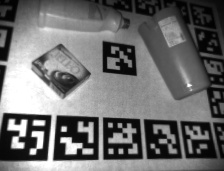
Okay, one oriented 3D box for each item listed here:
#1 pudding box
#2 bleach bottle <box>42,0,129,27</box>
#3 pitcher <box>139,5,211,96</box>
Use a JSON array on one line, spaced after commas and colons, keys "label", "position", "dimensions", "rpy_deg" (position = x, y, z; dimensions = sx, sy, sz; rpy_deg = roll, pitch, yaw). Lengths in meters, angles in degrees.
[{"label": "pudding box", "position": [-0.120, -0.046, 0.546], "dimensions": [0.114, 0.038, 0.090], "rpy_deg": [46, 58, 1]}, {"label": "bleach bottle", "position": [-0.066, -0.208, 0.616], "dimensions": [0.253, 0.067, 0.102], "rpy_deg": [1, 74, -19]}, {"label": "pitcher", "position": [0.192, -0.098, 0.641], "dimensions": [0.191, 0.132, 0.242], "rpy_deg": [-13, 78, -57]}]
